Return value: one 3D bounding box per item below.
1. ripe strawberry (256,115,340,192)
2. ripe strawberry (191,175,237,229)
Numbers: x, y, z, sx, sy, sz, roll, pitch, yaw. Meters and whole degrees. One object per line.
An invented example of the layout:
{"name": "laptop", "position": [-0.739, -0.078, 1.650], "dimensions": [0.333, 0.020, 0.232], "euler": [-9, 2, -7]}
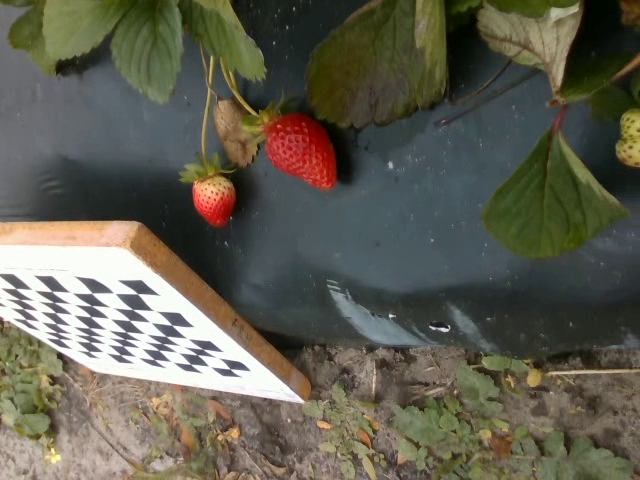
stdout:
{"name": "ripe strawberry", "position": [-0.011, -0.048, 0.332], "dimensions": [0.042, 0.059, 0.044], "euler": [-45, -1, -20]}
{"name": "ripe strawberry", "position": [-0.070, -0.024, 0.381], "dimensions": [0.036, 0.041, 0.028], "euler": [10, 43, 35]}
